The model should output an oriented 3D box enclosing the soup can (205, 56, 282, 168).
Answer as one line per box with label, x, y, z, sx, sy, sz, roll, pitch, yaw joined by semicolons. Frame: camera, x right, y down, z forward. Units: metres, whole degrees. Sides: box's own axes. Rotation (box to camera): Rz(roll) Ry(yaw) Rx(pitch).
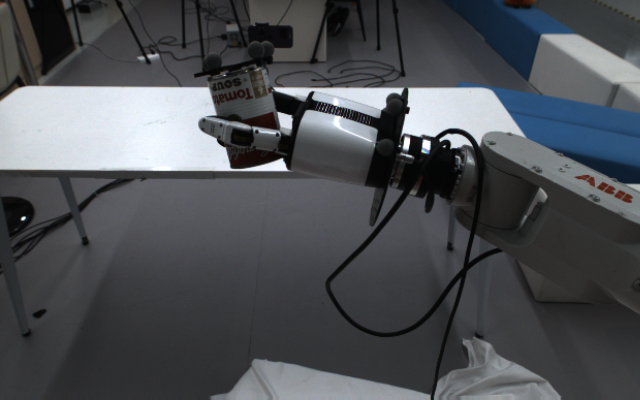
soup can;-0.079;-0.094;0.544;0.067;0.101;0.067;-13;17;4
